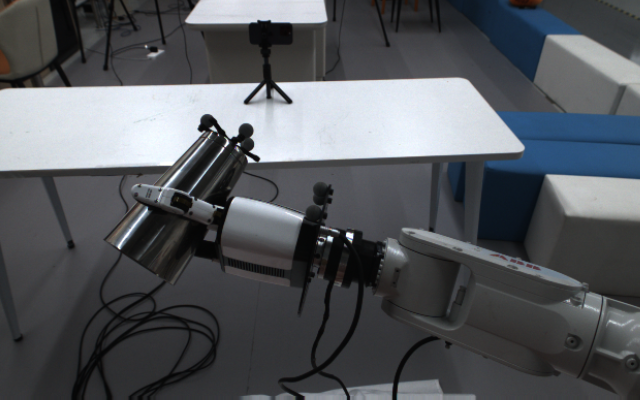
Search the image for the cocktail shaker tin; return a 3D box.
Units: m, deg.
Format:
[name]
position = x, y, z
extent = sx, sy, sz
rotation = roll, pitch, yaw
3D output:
[cocktail shaker tin]
position = -0.160, 0.000, 0.568
extent = 0.093, 0.093, 0.170
rotation = 22, 67, 26
